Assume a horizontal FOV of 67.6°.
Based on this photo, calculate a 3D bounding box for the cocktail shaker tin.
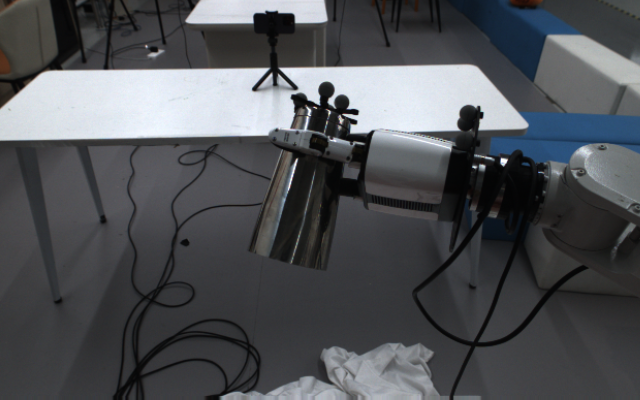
[{"bbox_3d":[-0.015,-0.016,0.553,0.093,0.170,0.093,15,-5,1],"label":"cocktail shaker tin"}]
